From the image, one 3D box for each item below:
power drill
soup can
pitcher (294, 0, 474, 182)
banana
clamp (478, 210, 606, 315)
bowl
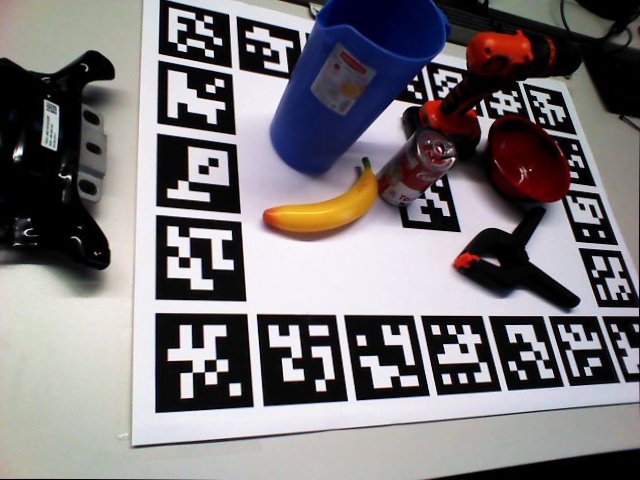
[{"bbox_3d":[0.273,-0.201,0.729,0.184,0.188,0.057,-3,69,-27],"label":"power drill"},{"bbox_3d":[0.155,-0.091,0.698,0.068,0.103,0.067,12,54,-17],"label":"soup can"},{"bbox_3d":[0.064,-0.179,0.612,0.188,0.244,0.133,-24,76,-32],"label":"pitcher"},{"bbox_3d":[0.036,-0.035,0.657,0.196,0.039,0.074,-26,71,-33],"label":"banana"},{"bbox_3d":[0.315,0.033,0.744,0.202,0.037,0.165,-1,71,-25],"label":"clamp"},{"bbox_3d":[0.348,-0.112,0.822,0.161,0.055,0.161,9,65,-21],"label":"bowl"}]
